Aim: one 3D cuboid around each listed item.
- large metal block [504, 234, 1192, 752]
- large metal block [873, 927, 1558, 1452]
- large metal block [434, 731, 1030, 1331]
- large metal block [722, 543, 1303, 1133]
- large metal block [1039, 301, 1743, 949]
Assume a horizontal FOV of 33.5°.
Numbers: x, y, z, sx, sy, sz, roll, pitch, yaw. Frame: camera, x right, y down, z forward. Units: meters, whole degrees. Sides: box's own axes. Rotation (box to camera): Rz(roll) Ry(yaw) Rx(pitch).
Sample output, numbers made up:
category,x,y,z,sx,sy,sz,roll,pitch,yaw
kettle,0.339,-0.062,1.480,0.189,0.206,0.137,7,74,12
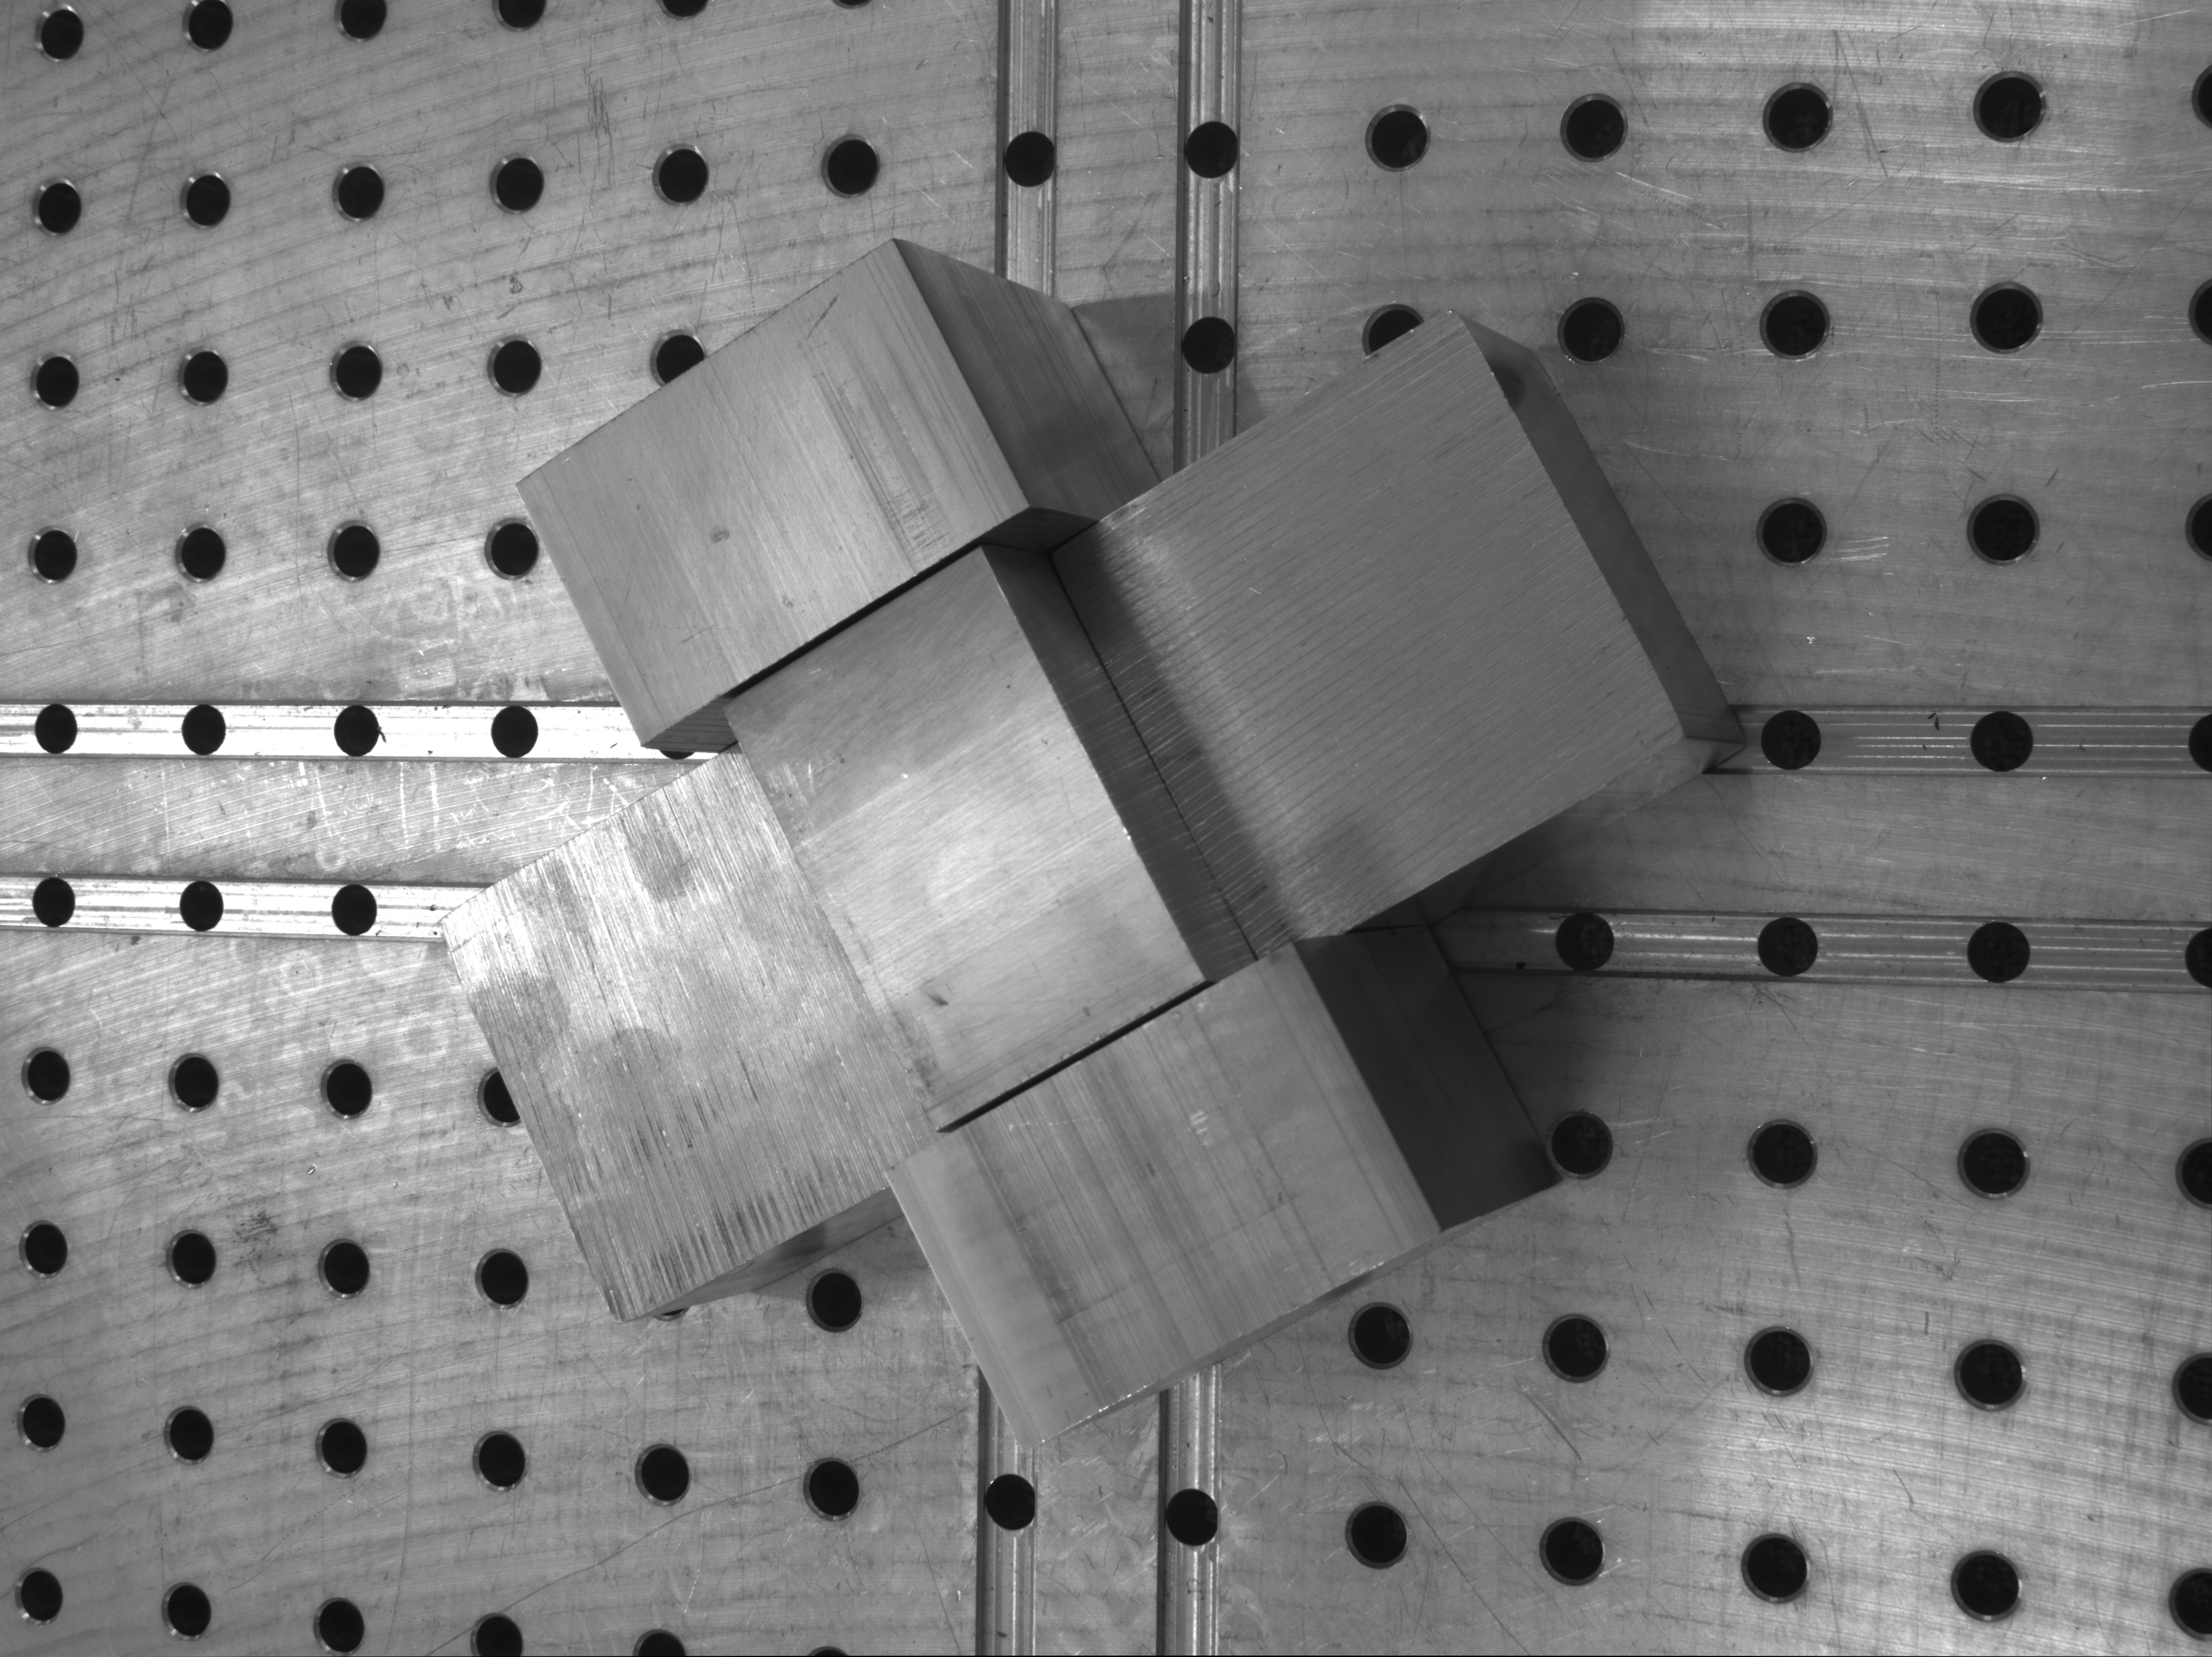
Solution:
category,x,y,z,sx,sy,sz,roll,pitch,yaw
large metal block,-0.043,-0.054,0.635,0.080,0.080,0.050,-30,79,18
large metal block,0.020,0.058,0.613,0.080,0.080,0.050,-30,80,17
large metal block,-0.061,0.034,0.659,0.080,0.050,0.080,-28,80,18
large metal block,-0.010,0.002,0.624,0.050,0.080,0.080,-30,80,18
large metal block,0.049,-0.031,0.618,0.080,0.050,0.080,-30,82,18
